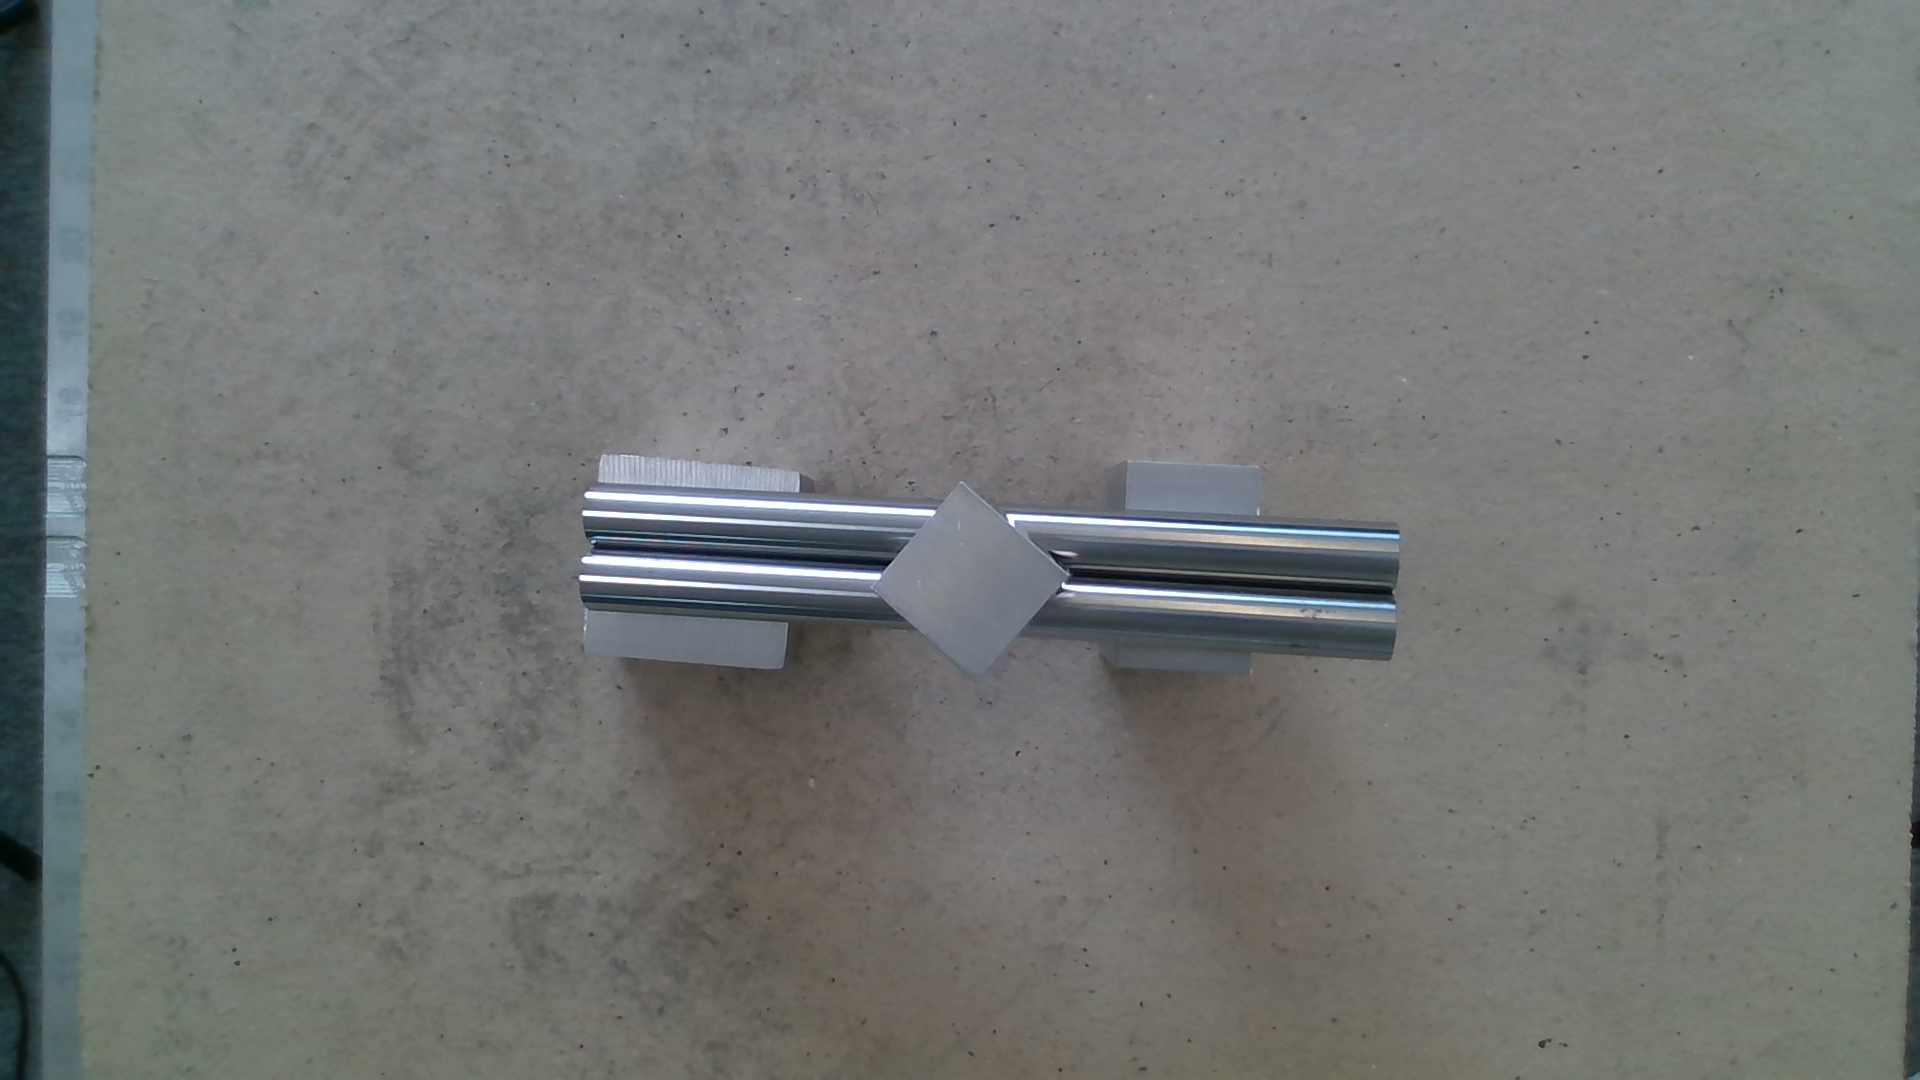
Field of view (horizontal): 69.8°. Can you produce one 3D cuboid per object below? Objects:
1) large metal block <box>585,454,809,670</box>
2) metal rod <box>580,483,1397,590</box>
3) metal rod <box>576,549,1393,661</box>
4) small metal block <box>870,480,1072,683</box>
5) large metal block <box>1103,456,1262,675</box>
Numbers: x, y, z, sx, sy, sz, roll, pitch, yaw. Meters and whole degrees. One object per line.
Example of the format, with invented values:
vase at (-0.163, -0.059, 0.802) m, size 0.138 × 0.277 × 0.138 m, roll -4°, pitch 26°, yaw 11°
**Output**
large metal block at (-0.107, 0.009, 0.574) m, size 0.080 × 0.050 × 0.080 m, roll 5°, pitch 90°, yaw 0°
metal rod at (0.006, -0.002, 0.515) m, size 0.300 × 0.025 × 0.025 m, roll 3°, pitch 90°, yaw 7°
metal rod at (0.005, 0.024, 0.515) m, size 0.300 × 0.025 × 0.025 m, roll 3°, pitch 90°, yaw 7°
small metal block at (0.005, 0.014, 0.490) m, size 0.050 × 0.025 × 0.050 m, roll 41°, pitch 96°, yaw 5°
large metal block at (0.087, 0.009, 0.561) m, size 0.050 × 0.080 × 0.080 m, roll 3°, pitch 90°, yaw 0°
